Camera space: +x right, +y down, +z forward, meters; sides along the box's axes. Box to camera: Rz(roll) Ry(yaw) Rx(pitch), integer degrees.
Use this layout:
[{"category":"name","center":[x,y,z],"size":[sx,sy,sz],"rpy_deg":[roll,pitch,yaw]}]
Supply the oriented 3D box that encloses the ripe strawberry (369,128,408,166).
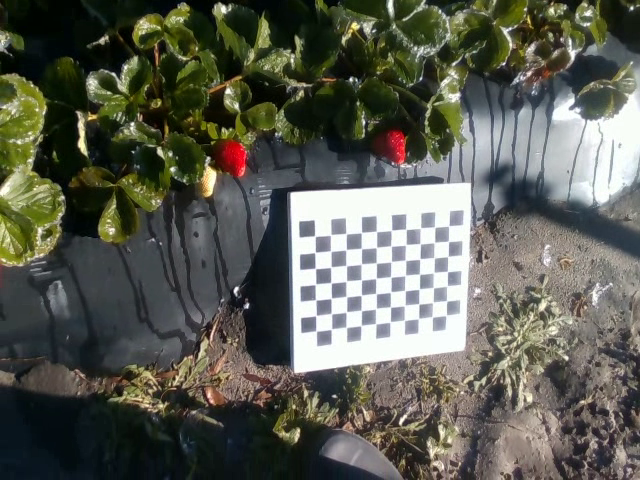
[{"category":"ripe strawberry","center":[0.104,-0.131,0.866],"size":[0.048,0.061,0.044],"rpy_deg":[-11,-18,-16]}]

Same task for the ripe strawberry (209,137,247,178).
[{"category":"ripe strawberry","center":[-0.115,-0.102,0.807],"size":[0.042,0.061,0.046],"rpy_deg":[-19,-26,-14]}]
